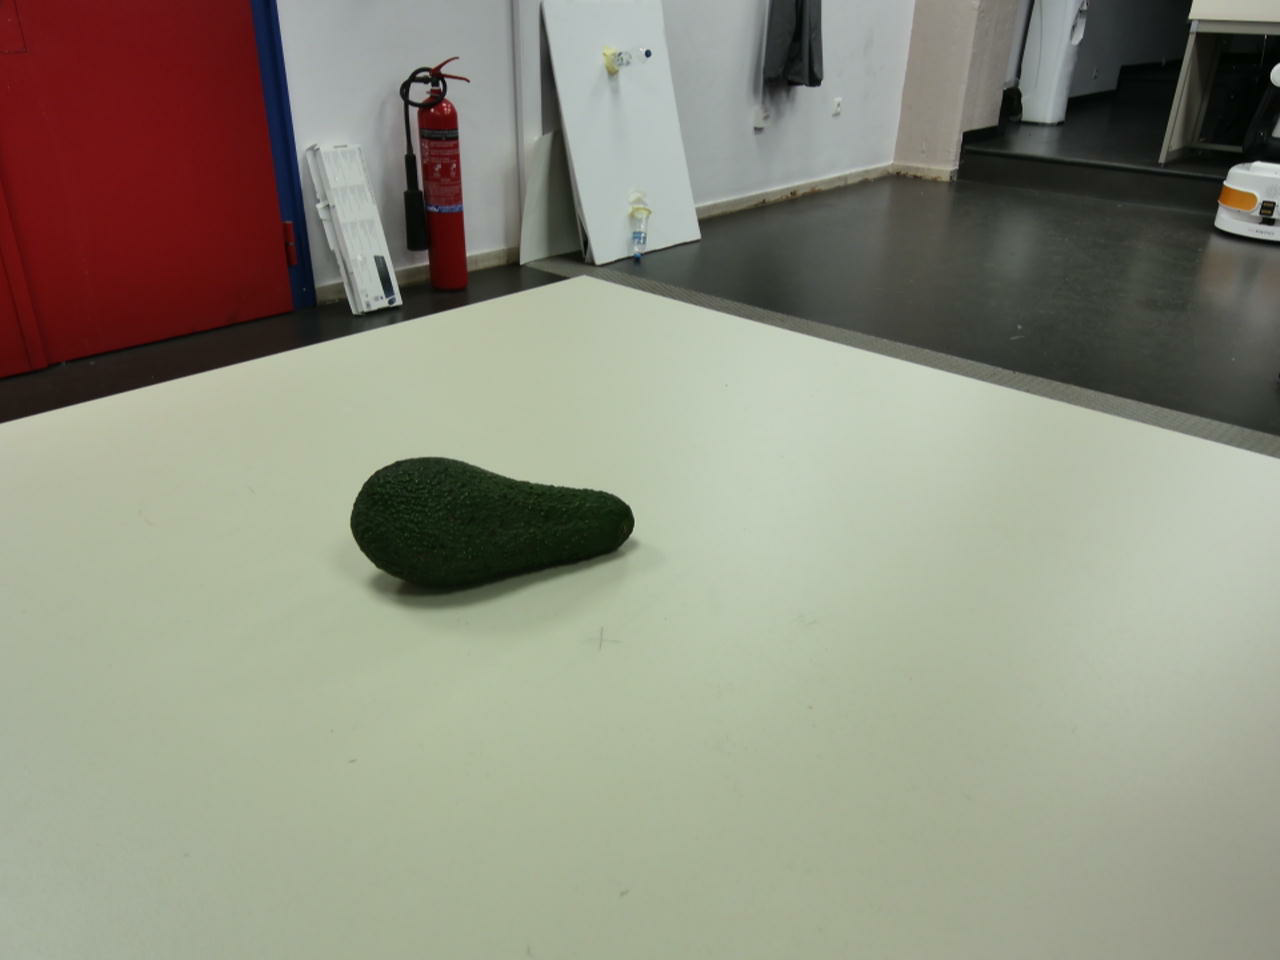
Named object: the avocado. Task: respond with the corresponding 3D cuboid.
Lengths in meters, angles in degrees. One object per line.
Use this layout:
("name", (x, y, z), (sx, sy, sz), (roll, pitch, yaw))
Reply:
("avocado", (-0.071, 0.013, 0.495), (0.141, 0.067, 0.063), (-15, 29, -31))
